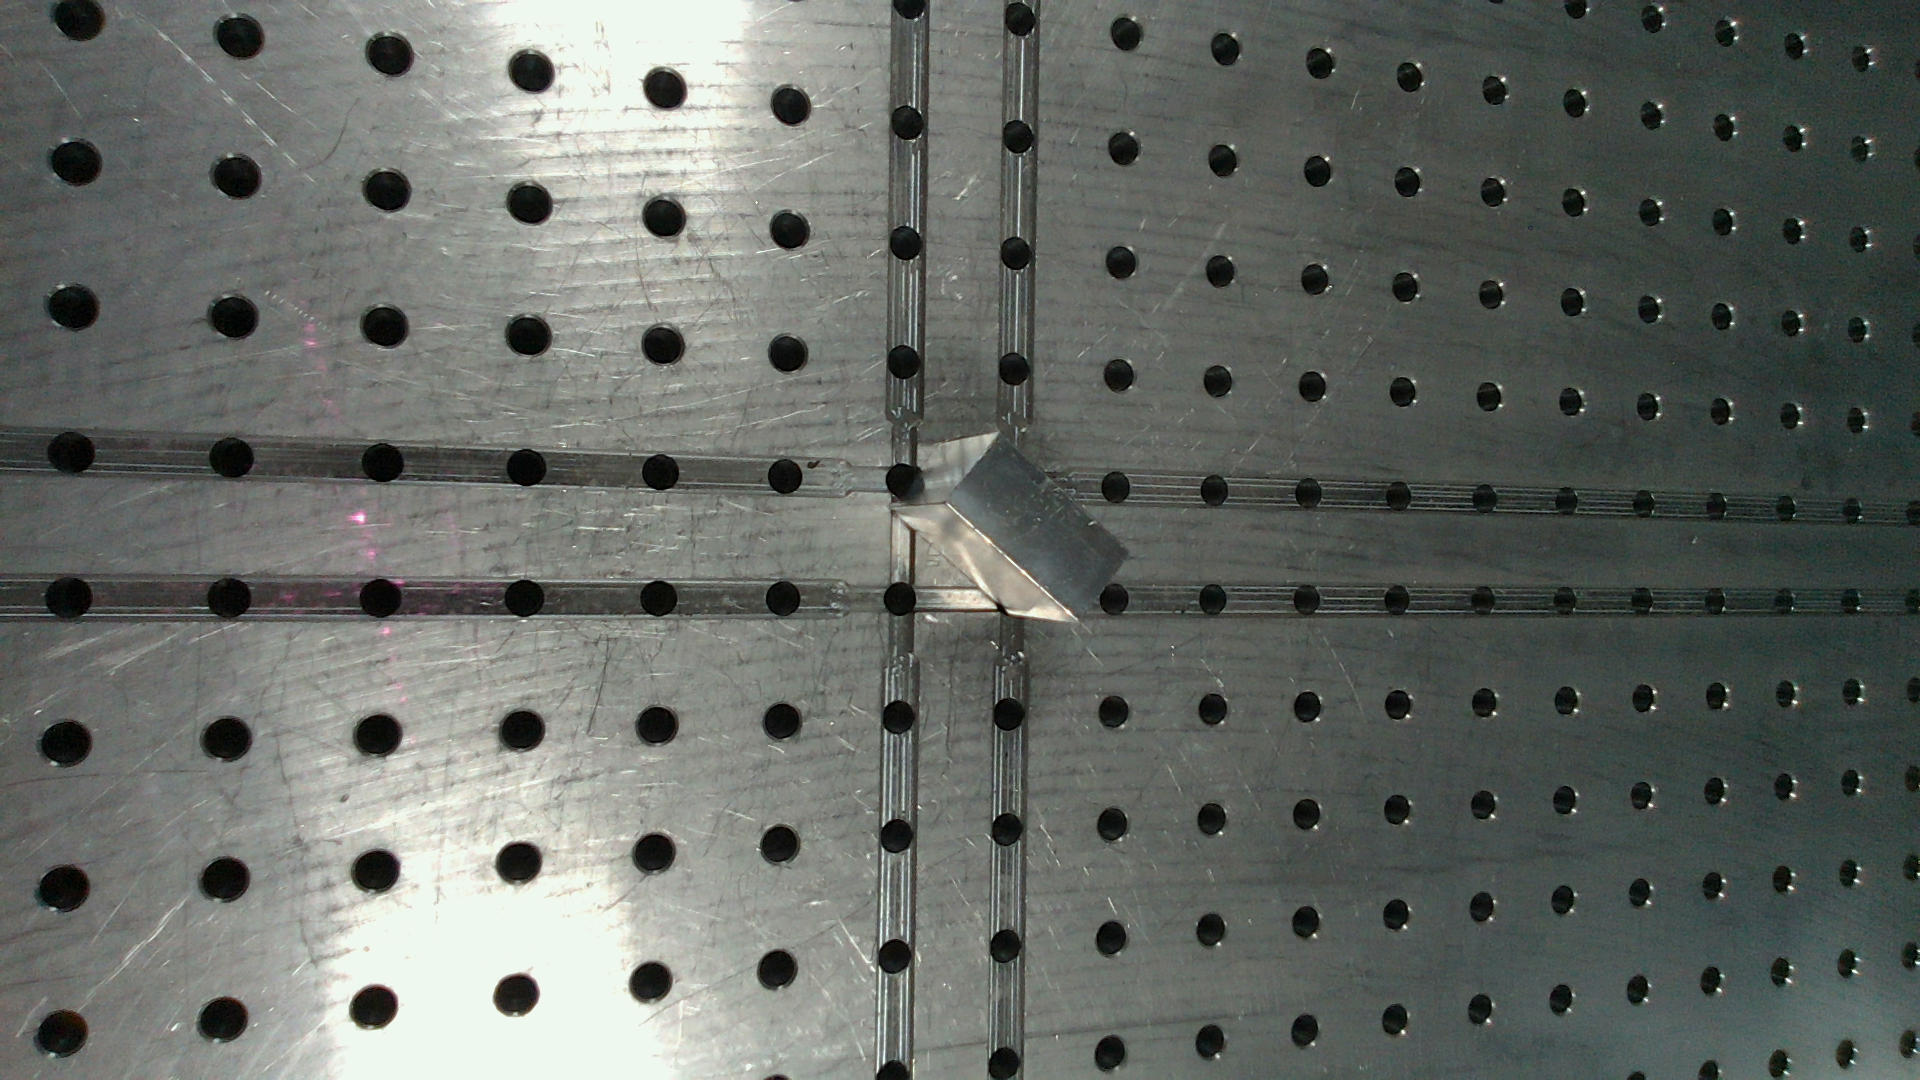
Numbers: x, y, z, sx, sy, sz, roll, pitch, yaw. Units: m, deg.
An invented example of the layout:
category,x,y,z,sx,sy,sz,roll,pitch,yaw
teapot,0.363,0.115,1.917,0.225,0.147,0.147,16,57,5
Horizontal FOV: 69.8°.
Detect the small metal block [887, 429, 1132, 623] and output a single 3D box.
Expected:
category,x,y,z,sx,sy,sz,roll,pitch,yaw
small metal block,0.013,-0.003,0.387,0.050,0.050,0.025,42,77,-15
